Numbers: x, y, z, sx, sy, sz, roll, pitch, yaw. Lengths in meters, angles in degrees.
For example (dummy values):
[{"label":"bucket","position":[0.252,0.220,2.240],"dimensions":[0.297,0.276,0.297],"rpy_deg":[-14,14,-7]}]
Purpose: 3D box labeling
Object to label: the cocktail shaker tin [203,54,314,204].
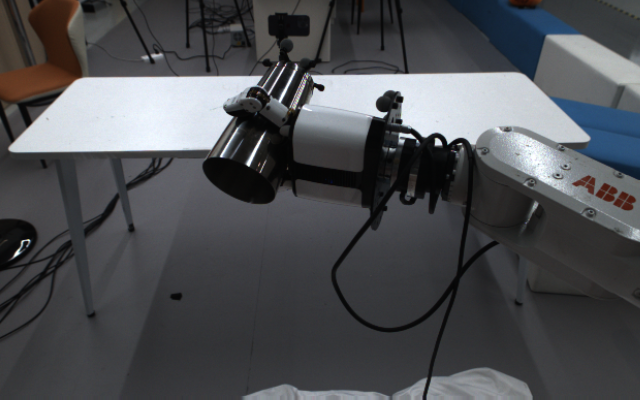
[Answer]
[{"label":"cocktail shaker tin","position":[-0.067,-0.089,0.599],"dimensions":[0.093,0.093,0.170],"rpy_deg":[14,61,17]}]
